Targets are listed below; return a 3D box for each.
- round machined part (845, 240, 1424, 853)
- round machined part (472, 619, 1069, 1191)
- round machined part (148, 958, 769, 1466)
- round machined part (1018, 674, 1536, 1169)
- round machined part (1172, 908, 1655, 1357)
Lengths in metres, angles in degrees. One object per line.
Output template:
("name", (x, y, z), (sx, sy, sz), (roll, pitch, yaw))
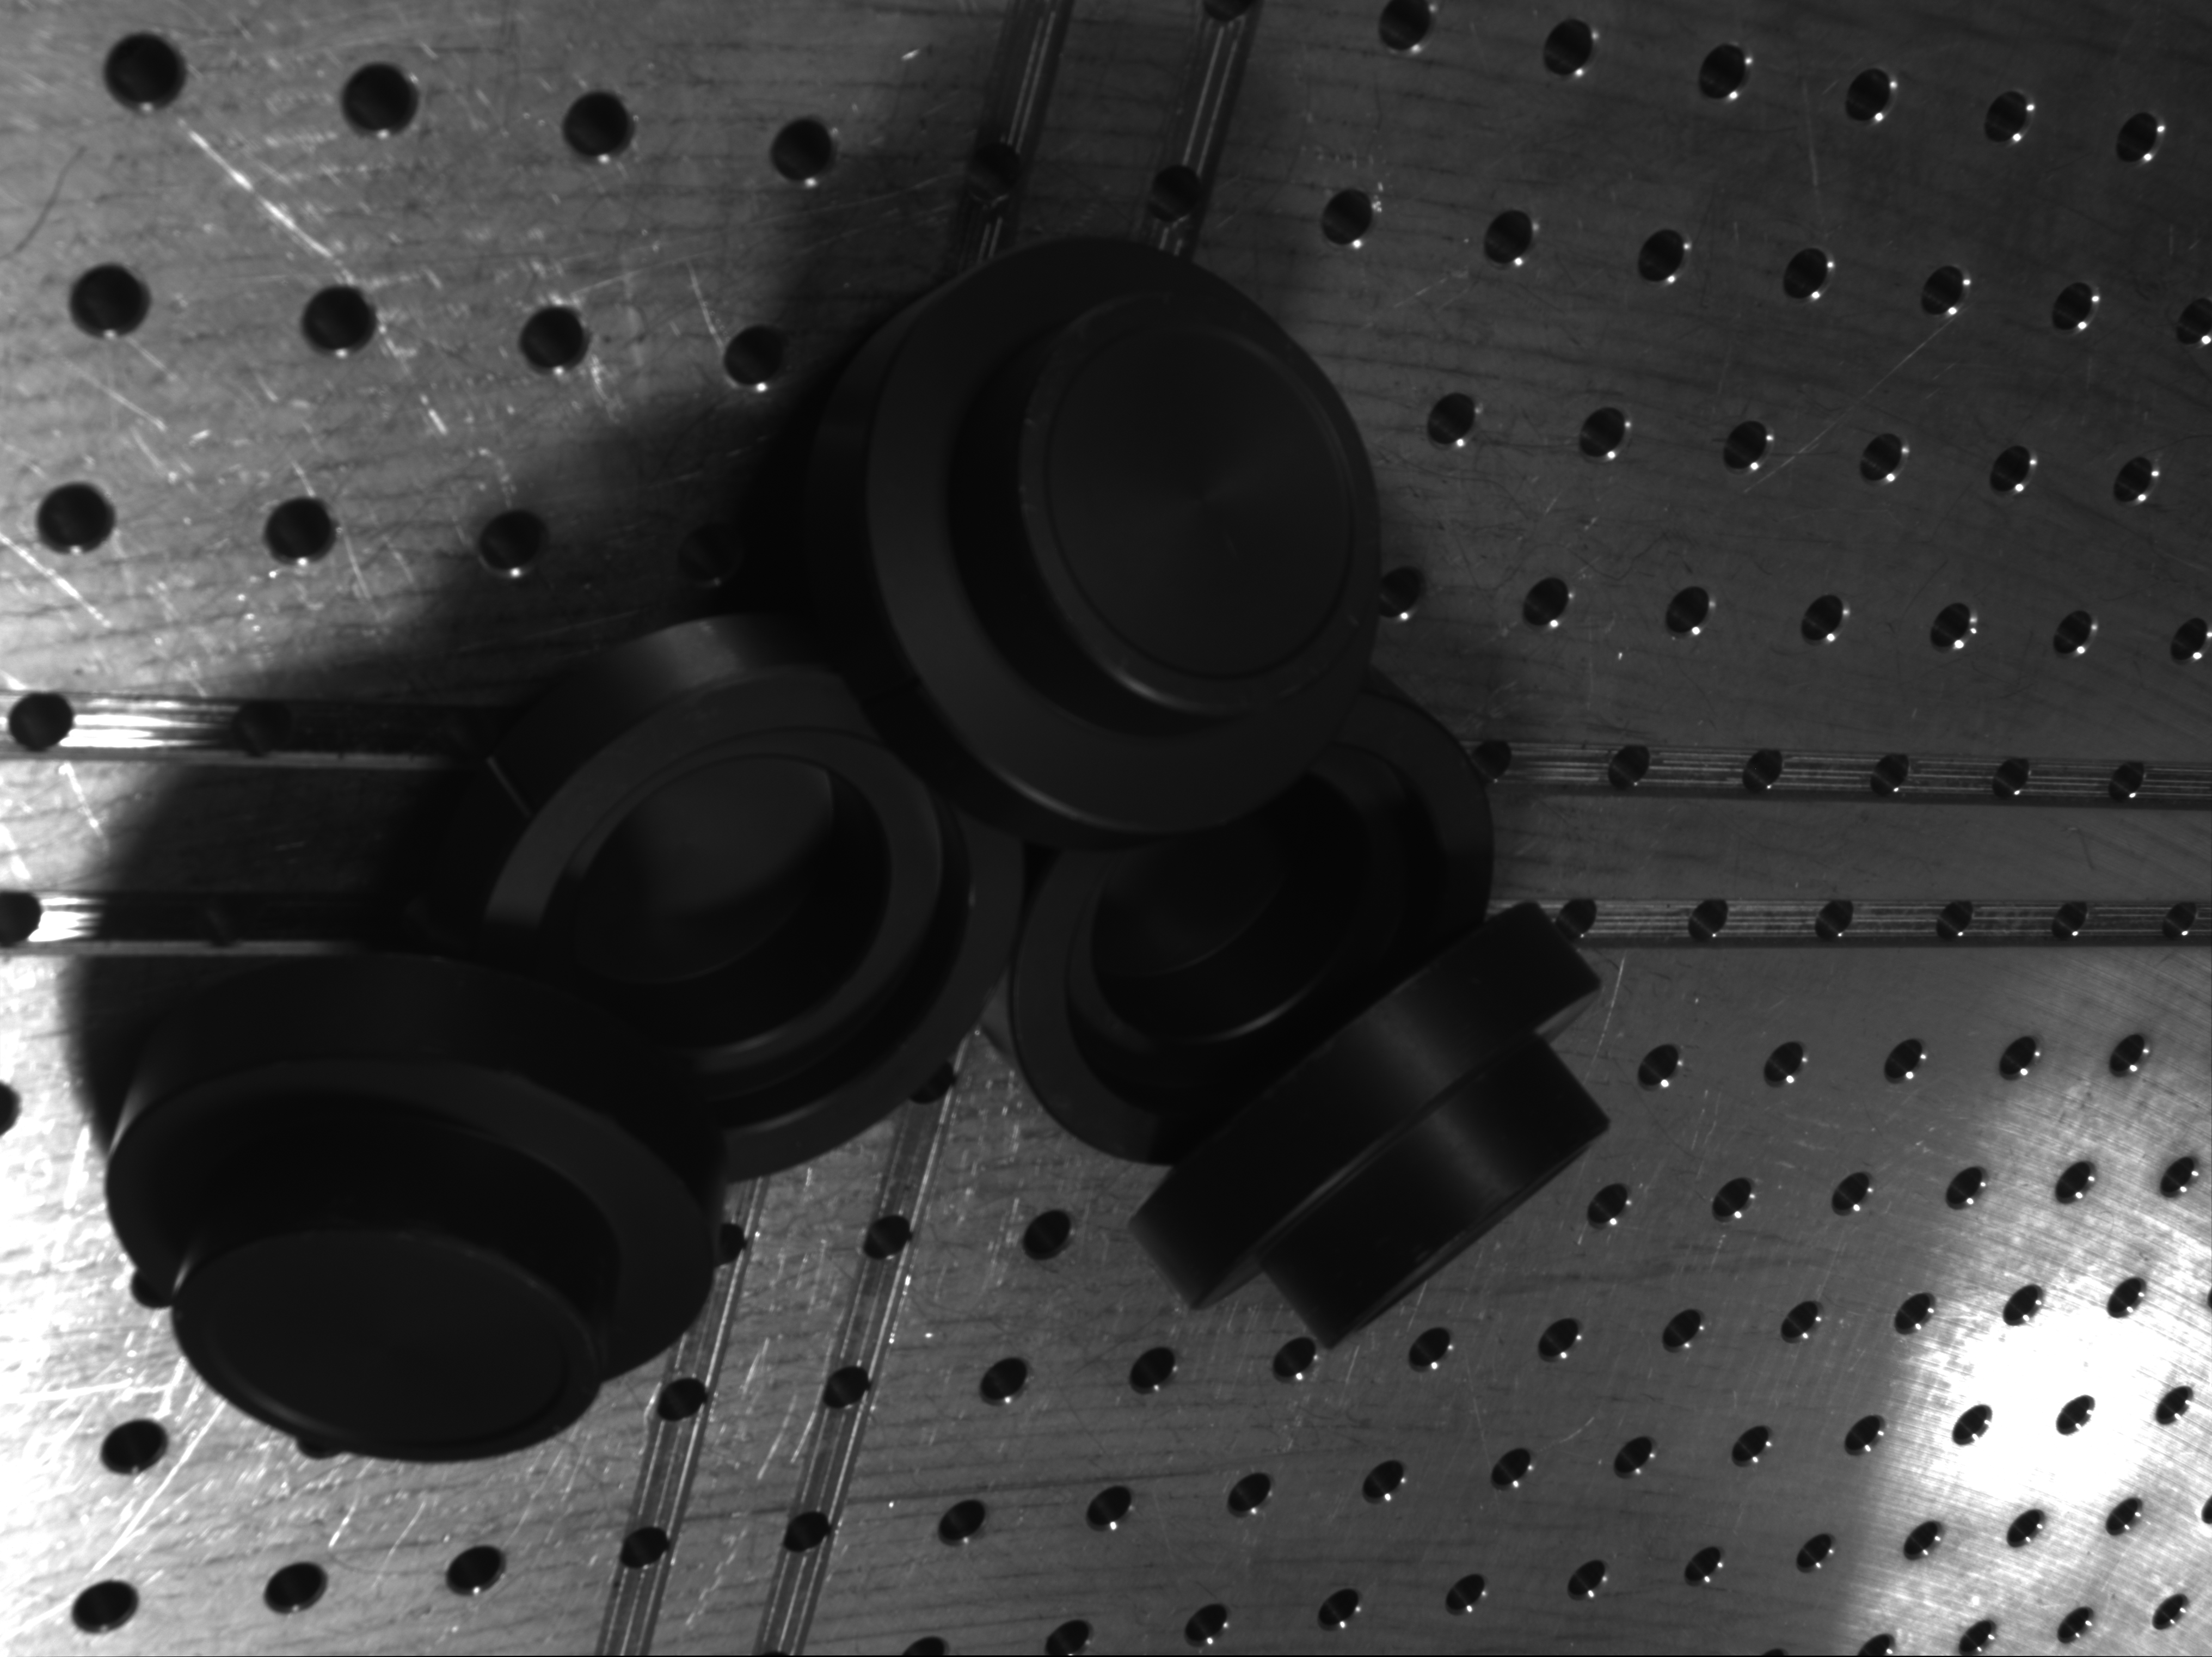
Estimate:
("round machined part", (0.011, -0.047, 0.587), (0.098, 0.042, 0.098), (7, 77, -29))
("round machined part", (-0.059, 0.009, 0.613), (0.098, 0.042, 0.098), (-15, 125, -22))
("round machined part", (-0.106, 0.068, 0.592), (0.098, 0.042, 0.098), (3, 139, 2))
("round machined part", (0.025, 0.010, 0.663), (0.098, 0.042, 0.098), (-15, 125, -22))
("round machined part", (0.063, 0.061, 0.682), (0.098, 0.042, 0.098), (-36, 168, -9))
